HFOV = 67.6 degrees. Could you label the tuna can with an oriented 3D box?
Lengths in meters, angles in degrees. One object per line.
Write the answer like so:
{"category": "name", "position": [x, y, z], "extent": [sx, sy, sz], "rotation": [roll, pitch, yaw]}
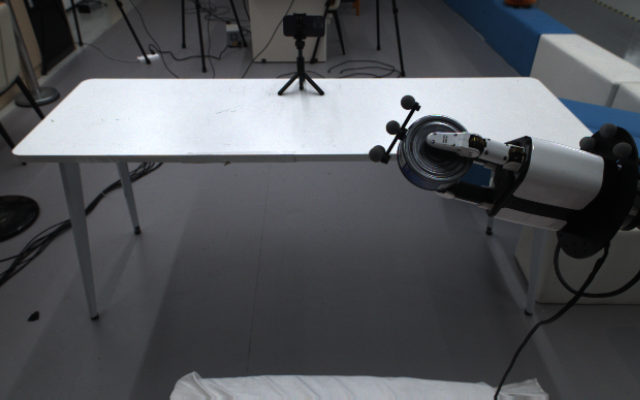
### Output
{"category": "tuna can", "position": [0.139, -0.059, 0.574], "extent": [0.085, 0.034, 0.085], "rotation": [1, 75, -5]}
